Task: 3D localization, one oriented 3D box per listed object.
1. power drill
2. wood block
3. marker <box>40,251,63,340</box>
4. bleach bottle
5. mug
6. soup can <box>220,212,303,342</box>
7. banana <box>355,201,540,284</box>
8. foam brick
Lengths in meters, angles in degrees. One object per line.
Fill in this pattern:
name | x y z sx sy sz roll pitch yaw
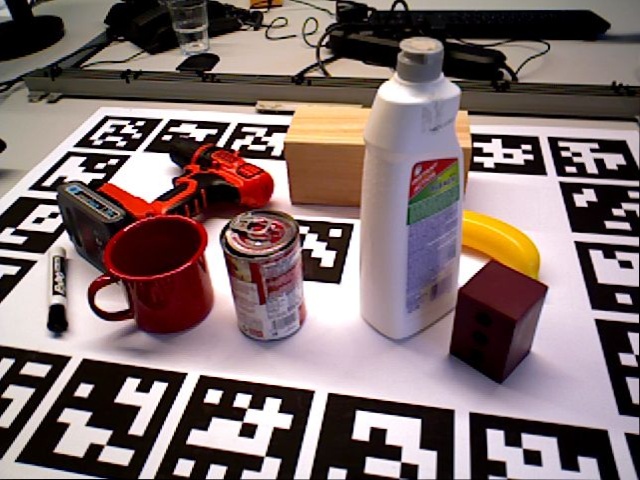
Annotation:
power drill | -0.173 -0.045 0.629 0.185 0.058 0.182 29 48 29
wood block | 0.070 -0.090 0.631 0.206 0.093 0.088 4 41 10
marker | -0.267 0.054 0.542 0.019 0.020 0.120 -16 42 -12
bleach bottle | 0.077 -0.032 0.428 0.068 0.256 0.100 27 47 32
mug | -0.155 0.035 0.500 0.115 0.083 0.093 -28 47 -23
soup can | -0.048 0.030 0.473 0.067 0.104 0.067 0 36 -1
banana | 0.134 -0.011 0.564 0.198 0.039 0.073 17 58 21
foam brick | 0.149 0.073 0.436 0.050 0.080 0.053 -32 45 -33
